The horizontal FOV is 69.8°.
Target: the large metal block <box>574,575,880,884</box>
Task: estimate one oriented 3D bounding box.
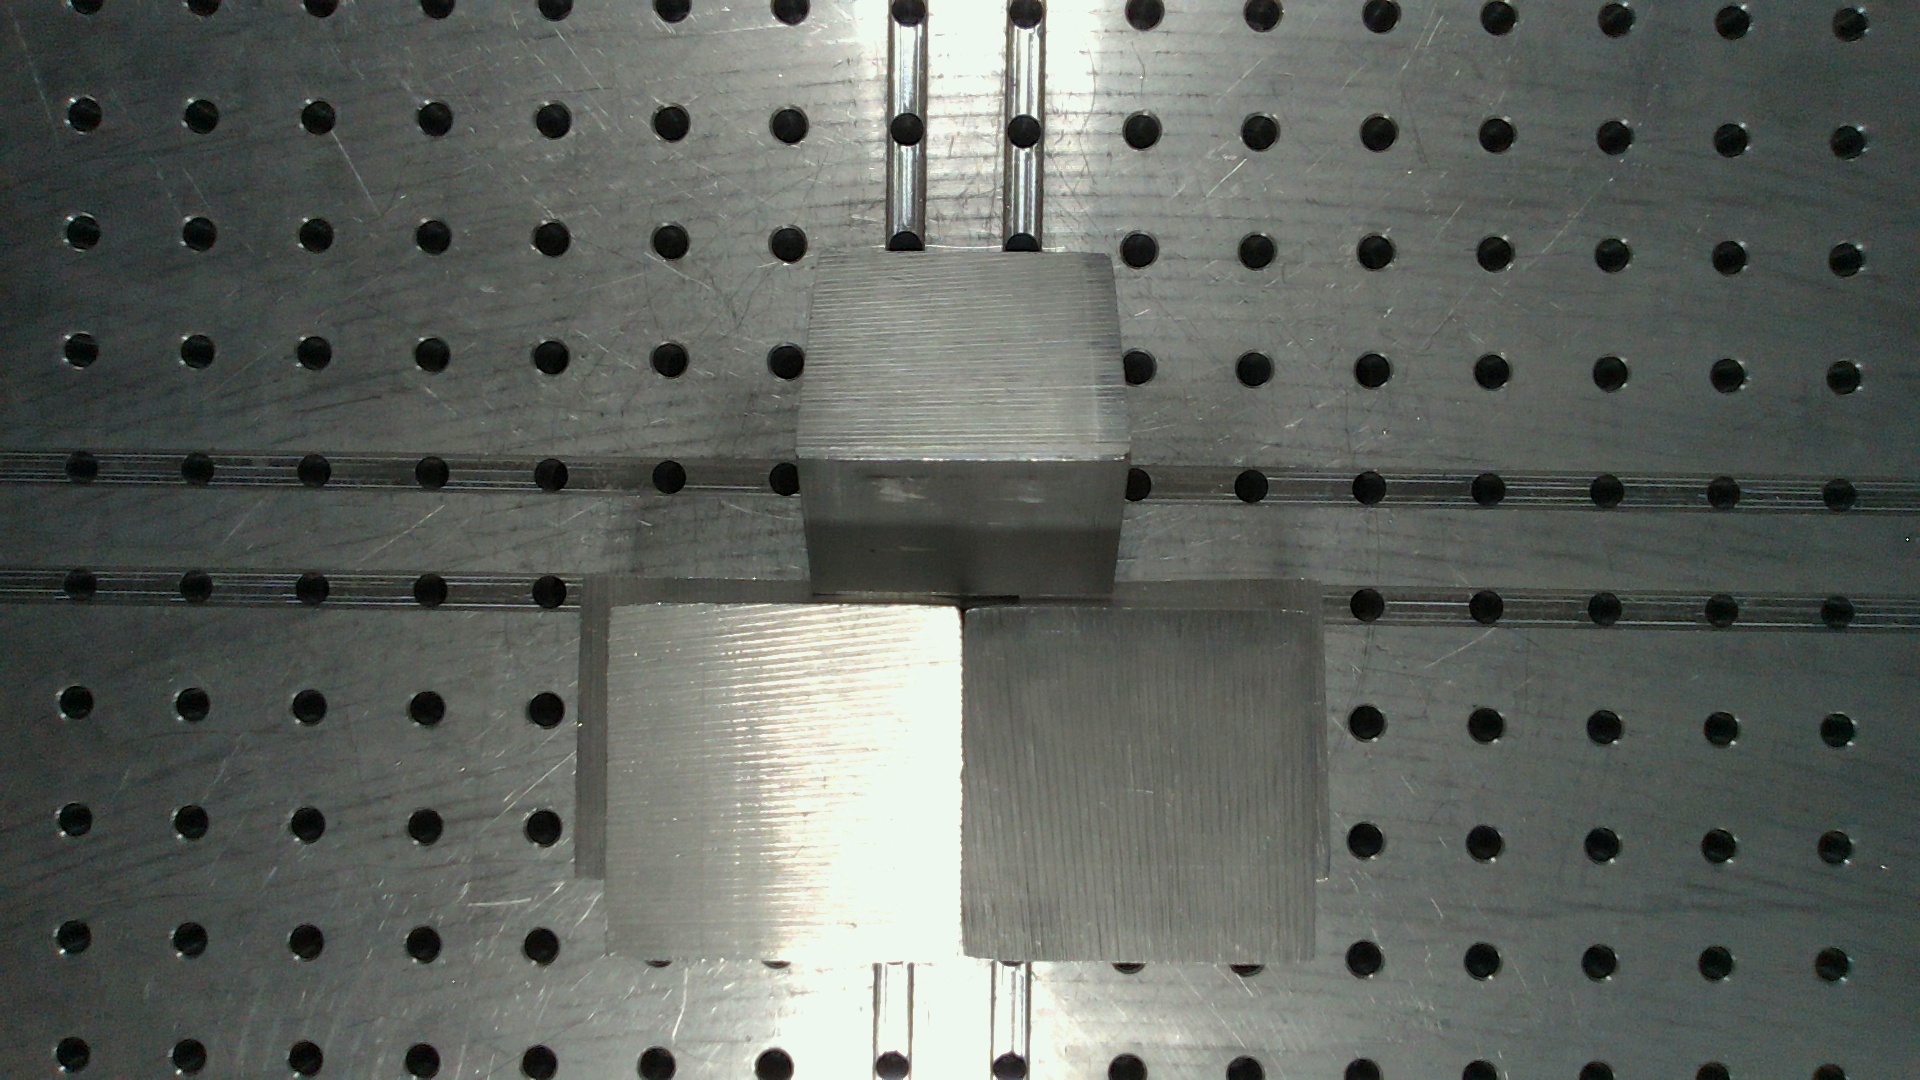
[{"bbox_3d":[-0.060,0.050,0.386,0.080,0.050,0.080,1,90,0],"label":"large metal block"}]

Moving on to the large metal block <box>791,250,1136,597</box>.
[{"bbox_3d":[0.001,-0.032,0.365,0.080,0.050,0.080,0,48,0],"label":"large metal block"}]

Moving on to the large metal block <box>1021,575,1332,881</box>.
[{"bbox_3d":[0.057,0.050,0.385,0.080,0.050,0.080,-1,90,0],"label":"large metal block"}]

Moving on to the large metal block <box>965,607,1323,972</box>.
[{"bbox_3d":[0.041,0.057,0.334,0.080,0.050,0.080,0,90,0],"label":"large metal block"}]

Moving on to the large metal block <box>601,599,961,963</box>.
[{"bbox_3d":[-0.040,0.054,0.332,0.080,0.050,0.080,0,90,0],"label":"large metal block"}]
